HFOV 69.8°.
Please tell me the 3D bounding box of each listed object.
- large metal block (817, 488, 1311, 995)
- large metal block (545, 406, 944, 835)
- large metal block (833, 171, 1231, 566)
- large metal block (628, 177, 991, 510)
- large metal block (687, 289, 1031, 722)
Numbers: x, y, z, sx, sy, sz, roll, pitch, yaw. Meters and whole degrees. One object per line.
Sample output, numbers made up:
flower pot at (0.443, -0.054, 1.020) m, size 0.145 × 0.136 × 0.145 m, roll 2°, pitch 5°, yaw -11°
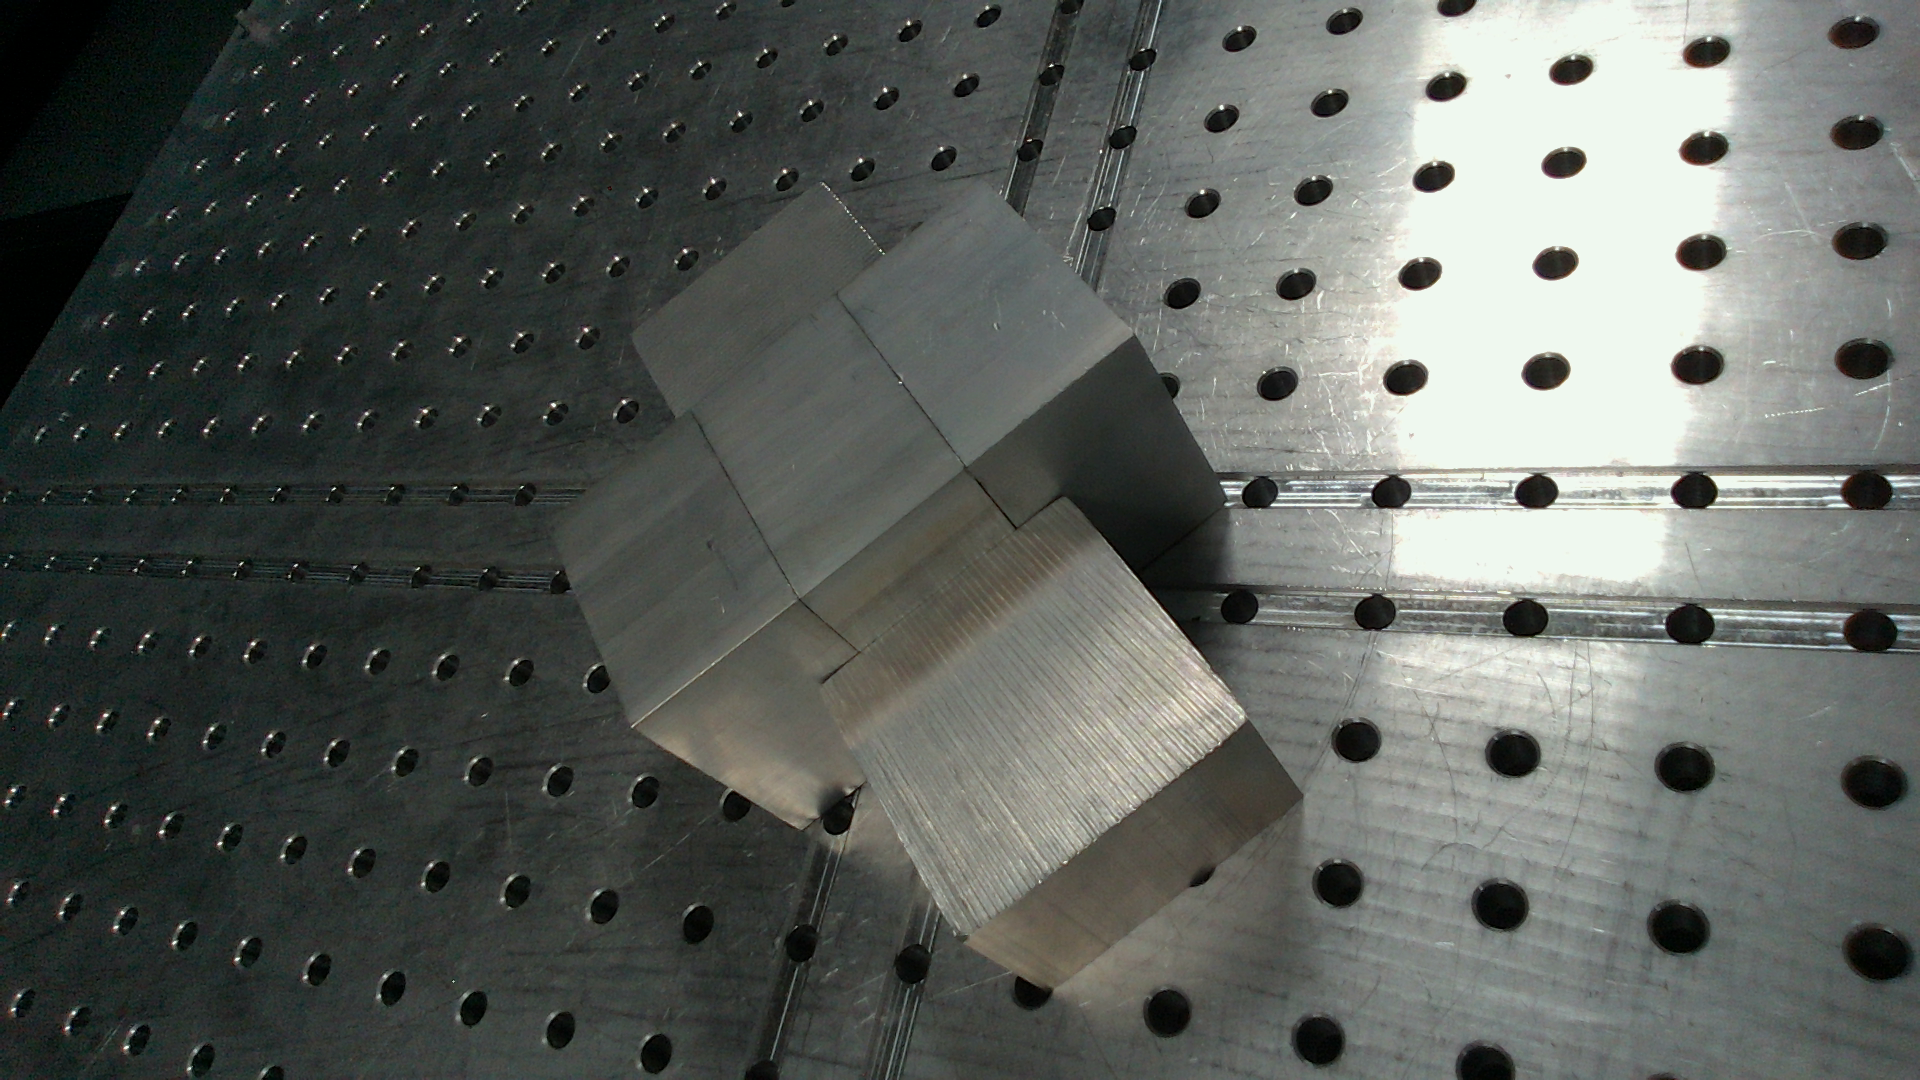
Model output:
large metal block at (0.024, 0.049, 0.338) m, size 0.080 × 0.050 × 0.080 m, roll -38°, pitch 51°, yaw 4°
large metal block at (-0.059, 0.023, 0.379) m, size 0.050 × 0.080 × 0.080 m, roll -38°, pitch 51°, yaw 3°
large metal block at (0.020, -0.039, 0.375) m, size 0.050 × 0.080 × 0.080 m, roll -38°, pitch 51°, yaw 3°
large metal block at (-0.047, -0.055, 0.436) m, size 0.080 × 0.050 × 0.080 m, roll -39°, pitch 51°, yaw 3°
large metal block at (-0.019, -0.008, 0.377) m, size 0.050 × 0.080 × 0.080 m, roll -38°, pitch 51°, yaw 3°
